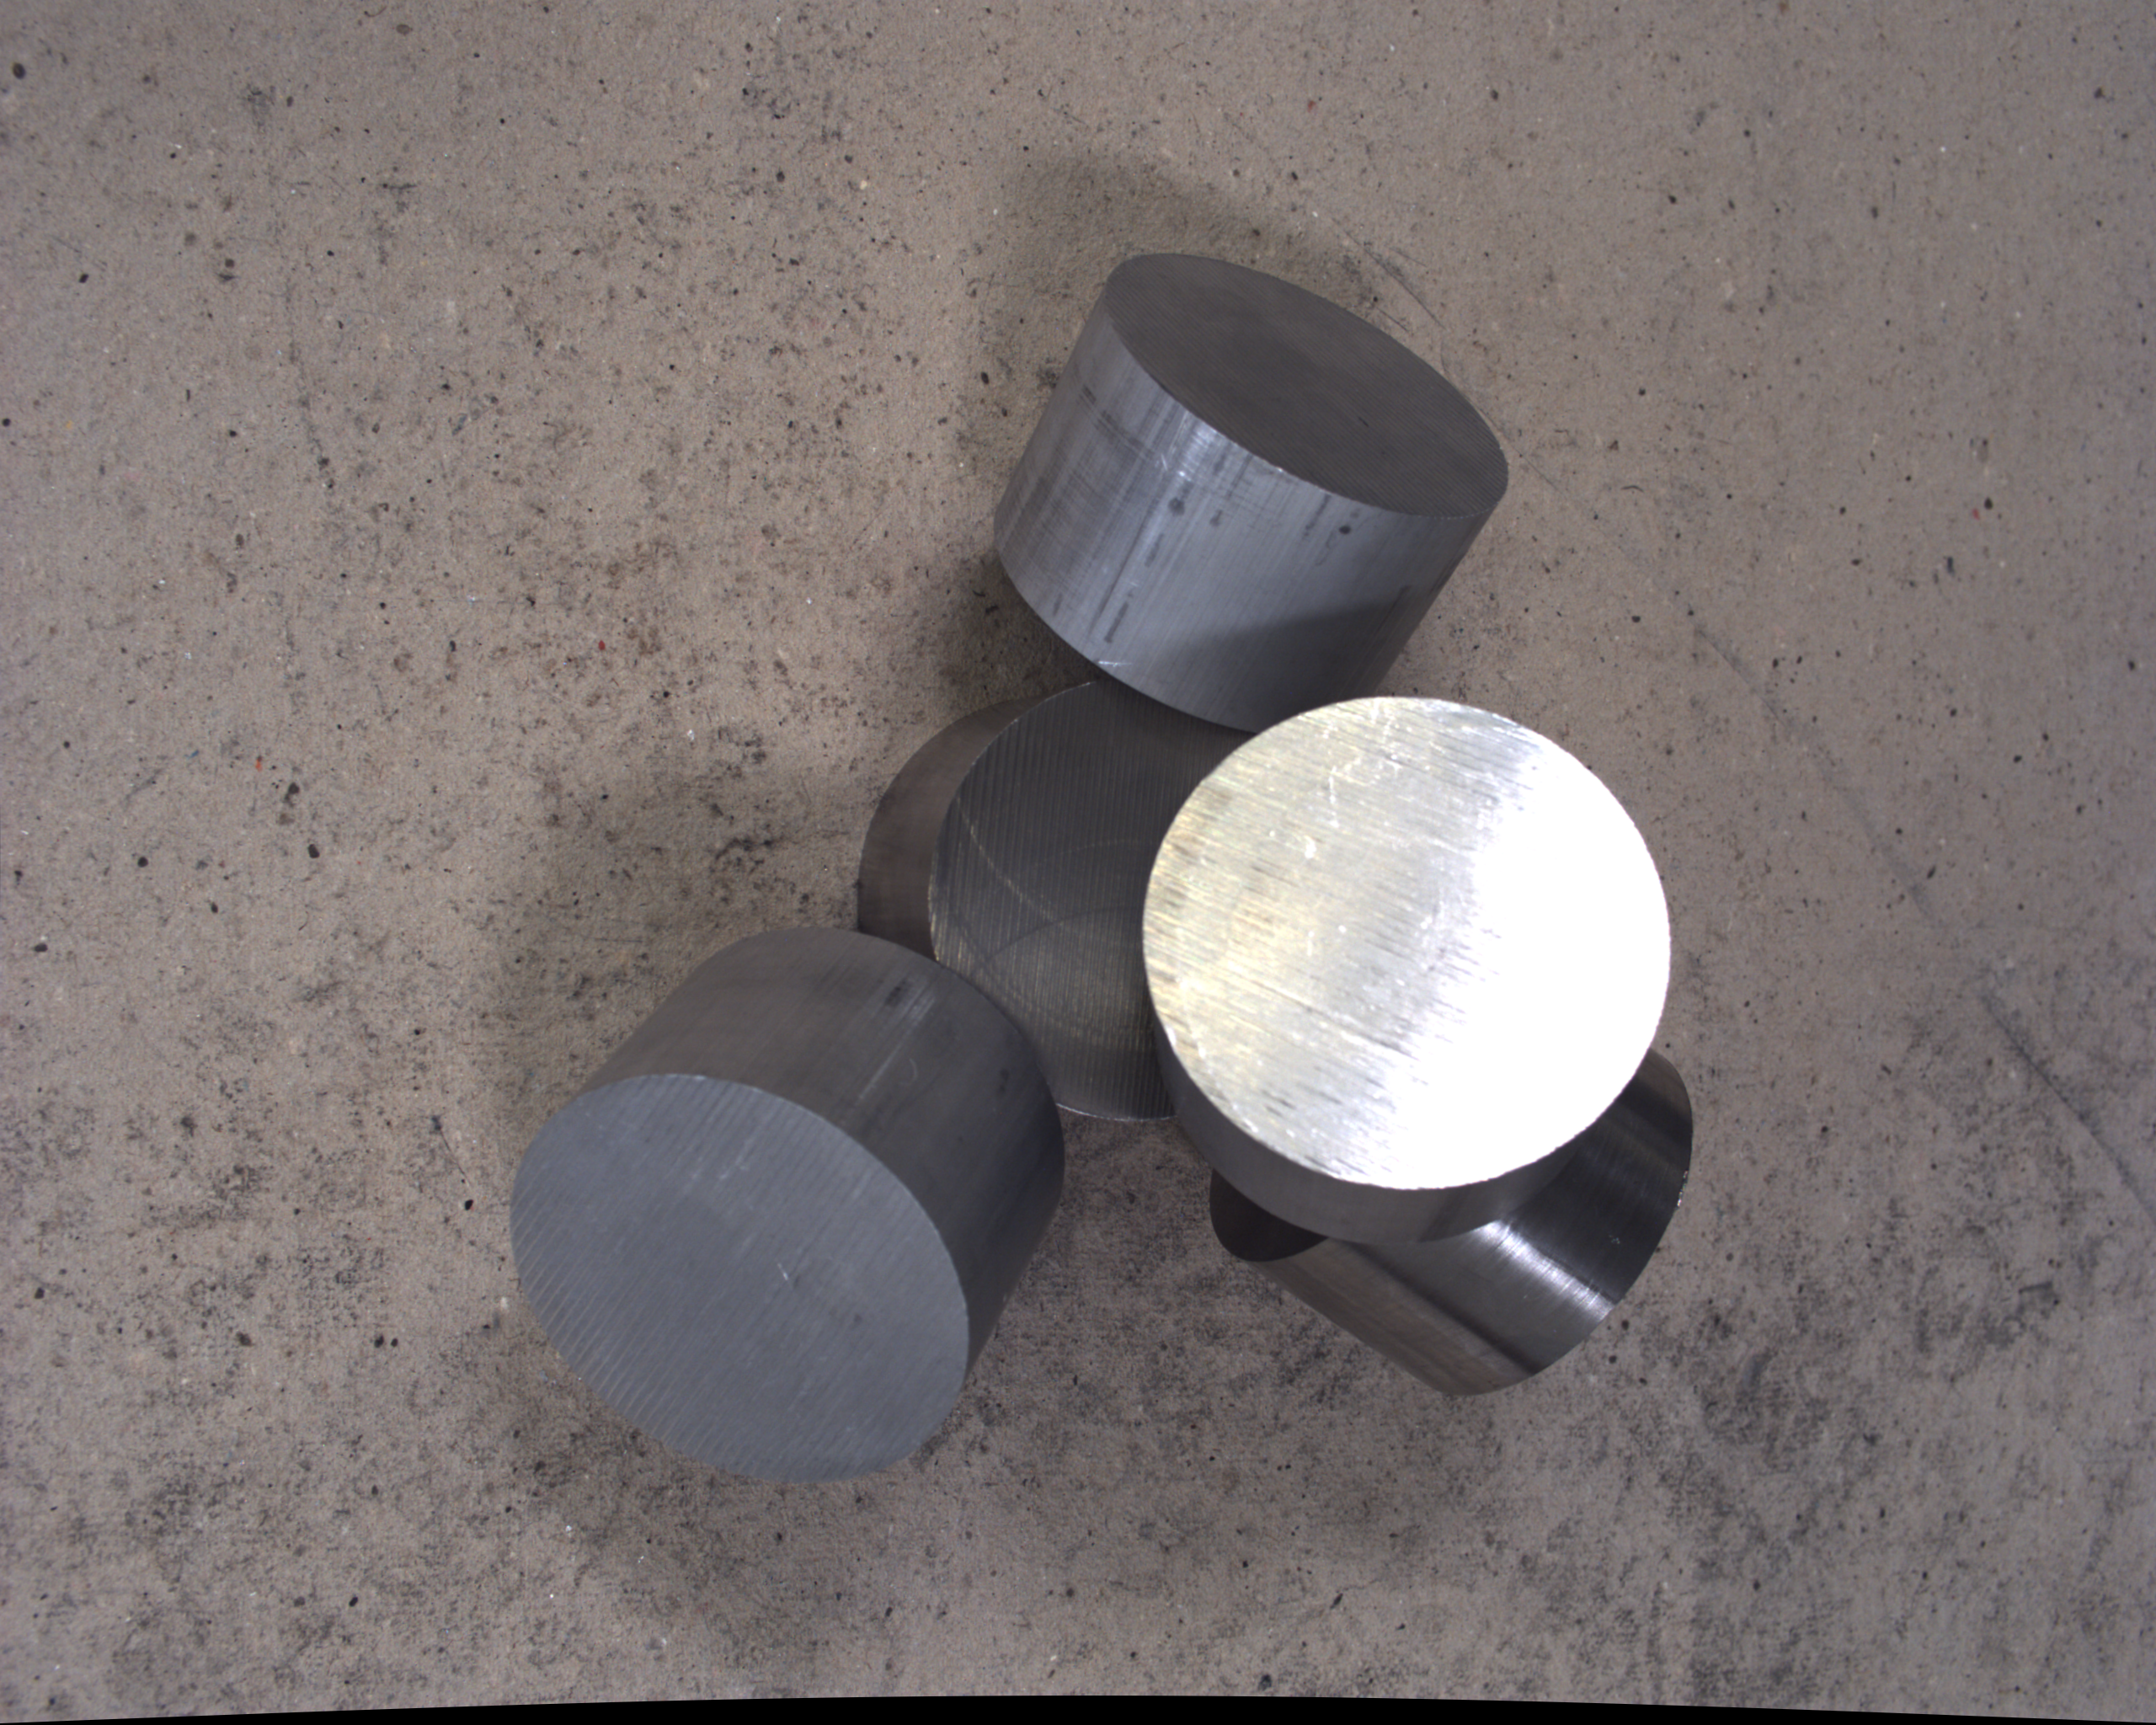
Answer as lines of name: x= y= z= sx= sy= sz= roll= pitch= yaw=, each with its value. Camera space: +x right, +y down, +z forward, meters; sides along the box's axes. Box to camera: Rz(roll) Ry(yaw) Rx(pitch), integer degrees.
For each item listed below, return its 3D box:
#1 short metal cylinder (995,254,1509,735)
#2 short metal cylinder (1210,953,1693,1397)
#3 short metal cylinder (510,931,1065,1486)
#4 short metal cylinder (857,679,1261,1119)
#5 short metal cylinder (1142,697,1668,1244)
short metal cylinder: x=0.031 y=-0.068 z=0.386 sx=0.081 sy=0.080 sz=0.050 roll=14 pitch=129 yaw=-20
short metal cylinder: x=0.071 y=0.056 z=0.407 sx=0.050 sy=0.080 sz=0.080 roll=37 pitch=78 yaw=-17
short metal cylinder: x=-0.048 y=0.058 z=0.357 sx=0.080 sy=0.050 sz=0.079 roll=7 pitch=117 yaw=15
short metal cylinder: x=0.003 y=0.006 z=0.398 sx=0.081 sy=0.050 sz=0.080 roll=0 pitch=90 yaw=-21
short metal cylinder: x=0.052 y=0.019 z=0.345 sx=0.080 sy=0.050 sz=0.080 roll=-1 pitch=70 yaw=3
